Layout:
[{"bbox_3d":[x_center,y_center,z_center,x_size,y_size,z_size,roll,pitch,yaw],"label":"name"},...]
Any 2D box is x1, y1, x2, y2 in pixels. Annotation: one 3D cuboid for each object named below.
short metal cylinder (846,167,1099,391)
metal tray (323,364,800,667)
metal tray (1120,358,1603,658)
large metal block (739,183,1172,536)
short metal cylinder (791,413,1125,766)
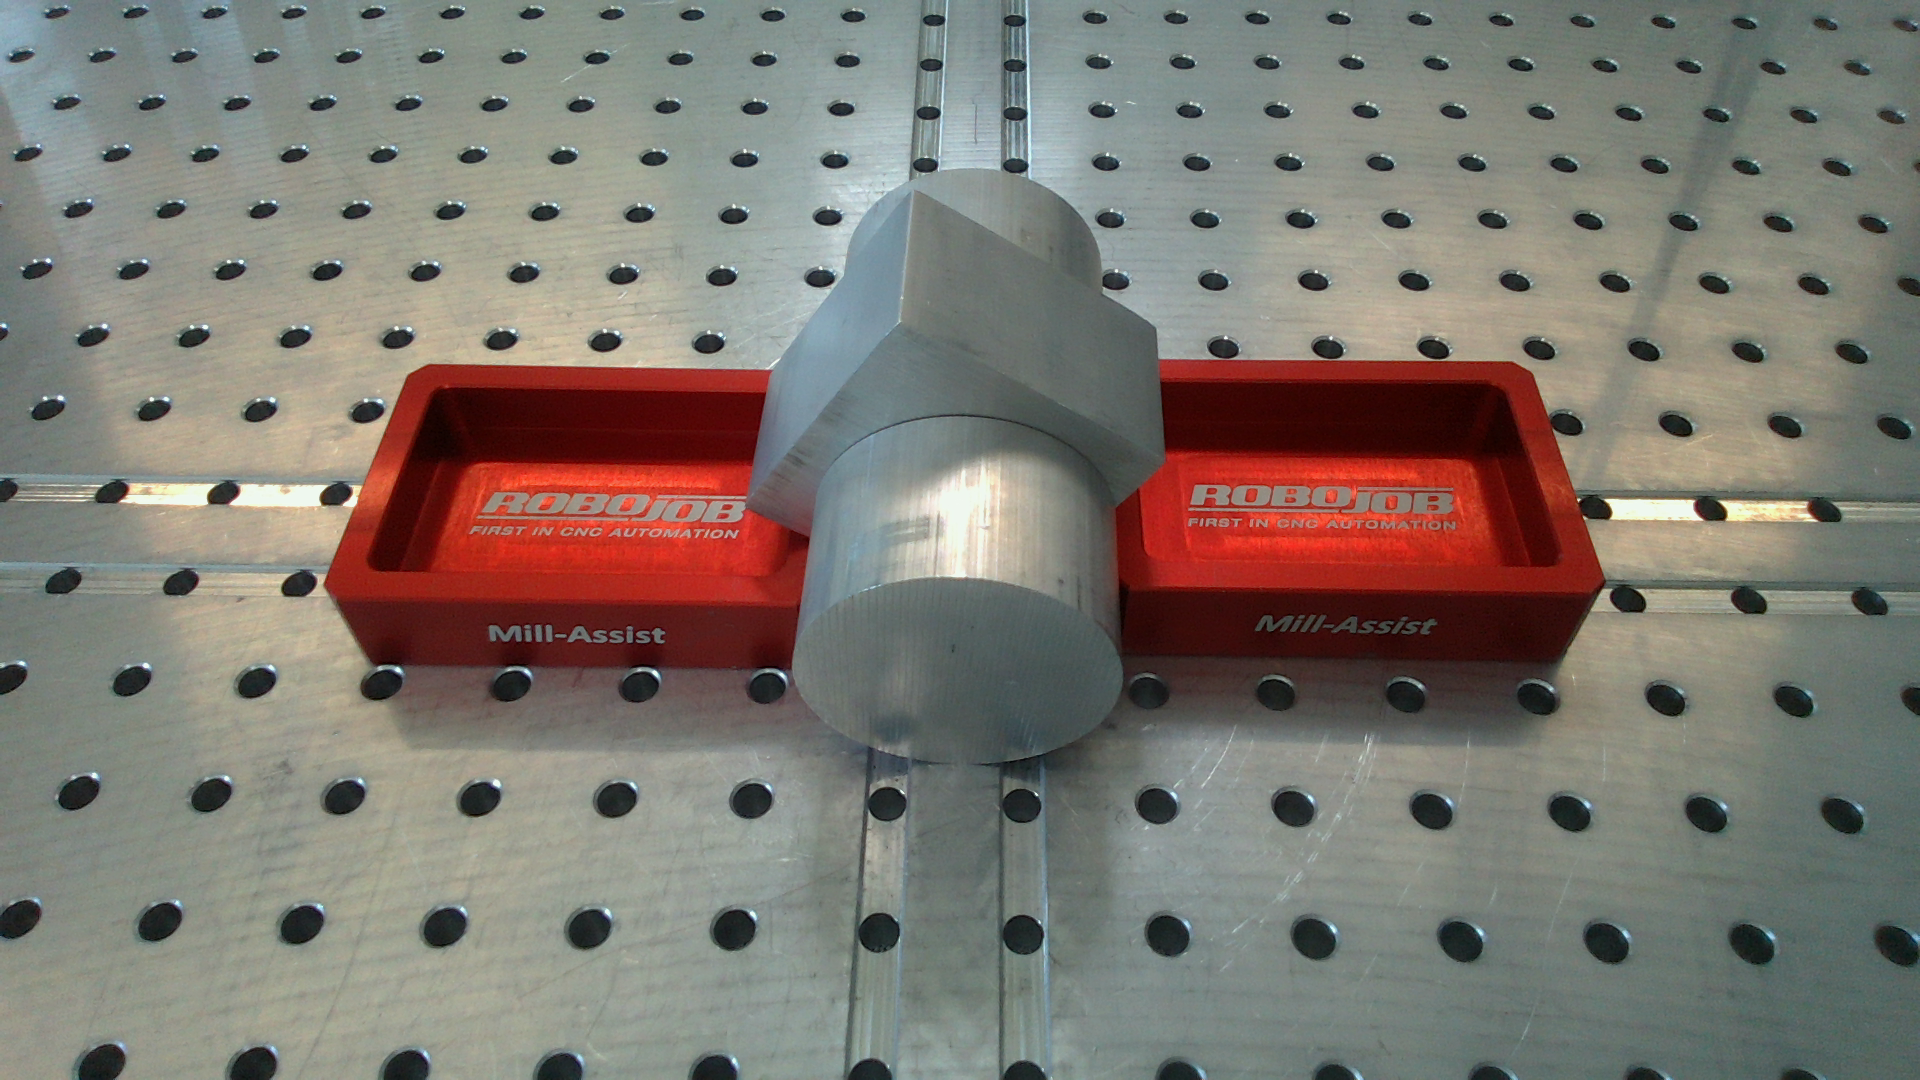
[{"bbox_3d":[0.003,-0.063,0.411,0.080,0.080,0.050,1,50,1],"label":"short metal cylinder"},{"bbox_3d":[-0.102,-0.009,0.398,0.130,0.030,0.090,1,50,1],"label":"metal tray"},{"bbox_3d":[0.106,-0.011,0.400,0.130,0.030,0.090,1,50,1],"label":"metal tray"},{"bbox_3d":[-0.002,-0.033,0.368,0.080,0.080,0.050,25,45,-24],"label":"large metal block"},{"bbox_3d":[0.000,0.014,0.346,0.080,0.080,0.050,1,50,1],"label":"short metal cylinder"}]
